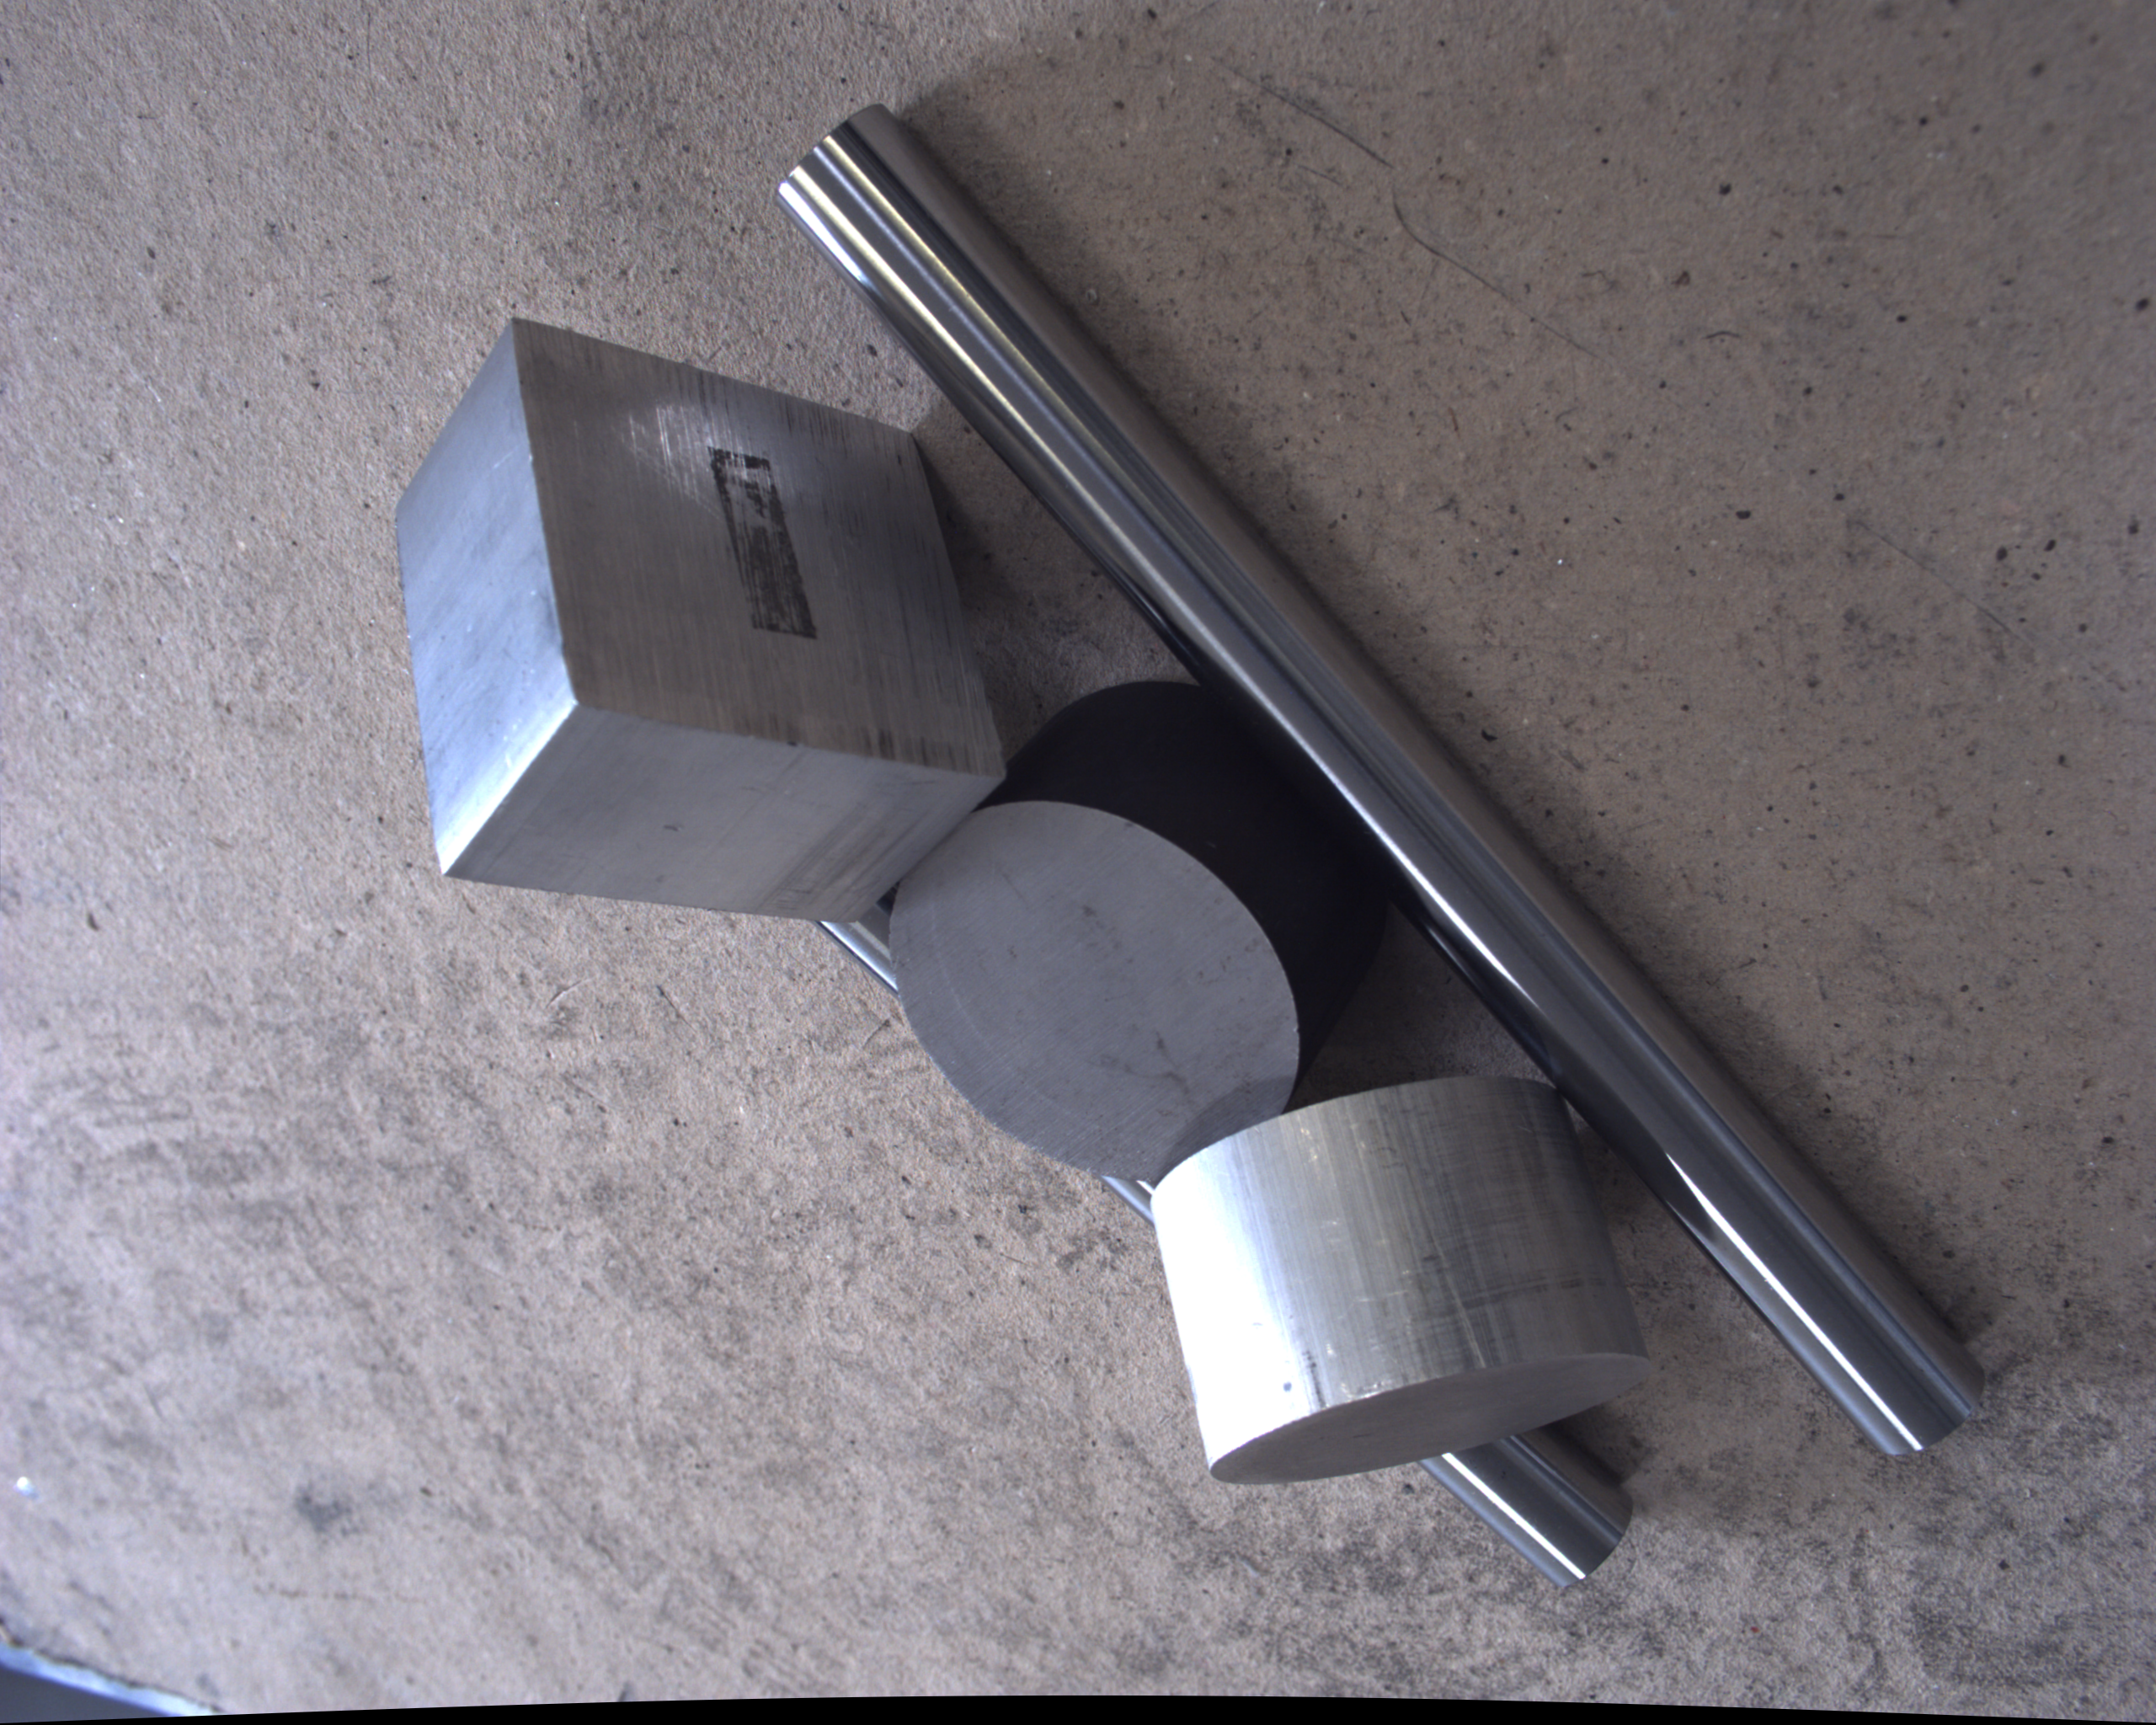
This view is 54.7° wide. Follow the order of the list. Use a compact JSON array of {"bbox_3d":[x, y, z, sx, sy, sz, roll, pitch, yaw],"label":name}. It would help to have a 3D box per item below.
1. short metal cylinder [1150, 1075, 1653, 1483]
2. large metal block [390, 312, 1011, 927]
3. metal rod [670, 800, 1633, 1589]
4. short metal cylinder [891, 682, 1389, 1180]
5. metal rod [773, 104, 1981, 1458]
[{"bbox_3d":[0.058,0.078,0.383,0.080,0.081,0.050,-36,56,38],"label":"short metal cylinder"},{"bbox_3d":[-0.067,-0.039,0.364,0.050,0.081,0.080,-42,53,39],"label":"large metal block"},{"bbox_3d":[-0.004,0.043,0.436,0.300,0.025,0.025,42,129,-1],"label":"metal rod"},{"bbox_3d":[0.012,0.013,0.393,0.080,0.050,0.079,13,124,21],"label":"short metal cylinder"},{"bbox_3d":[0.057,-0.010,0.372,0.300,0.025,0.025,48,129,-6],"label":"metal rod"}]
